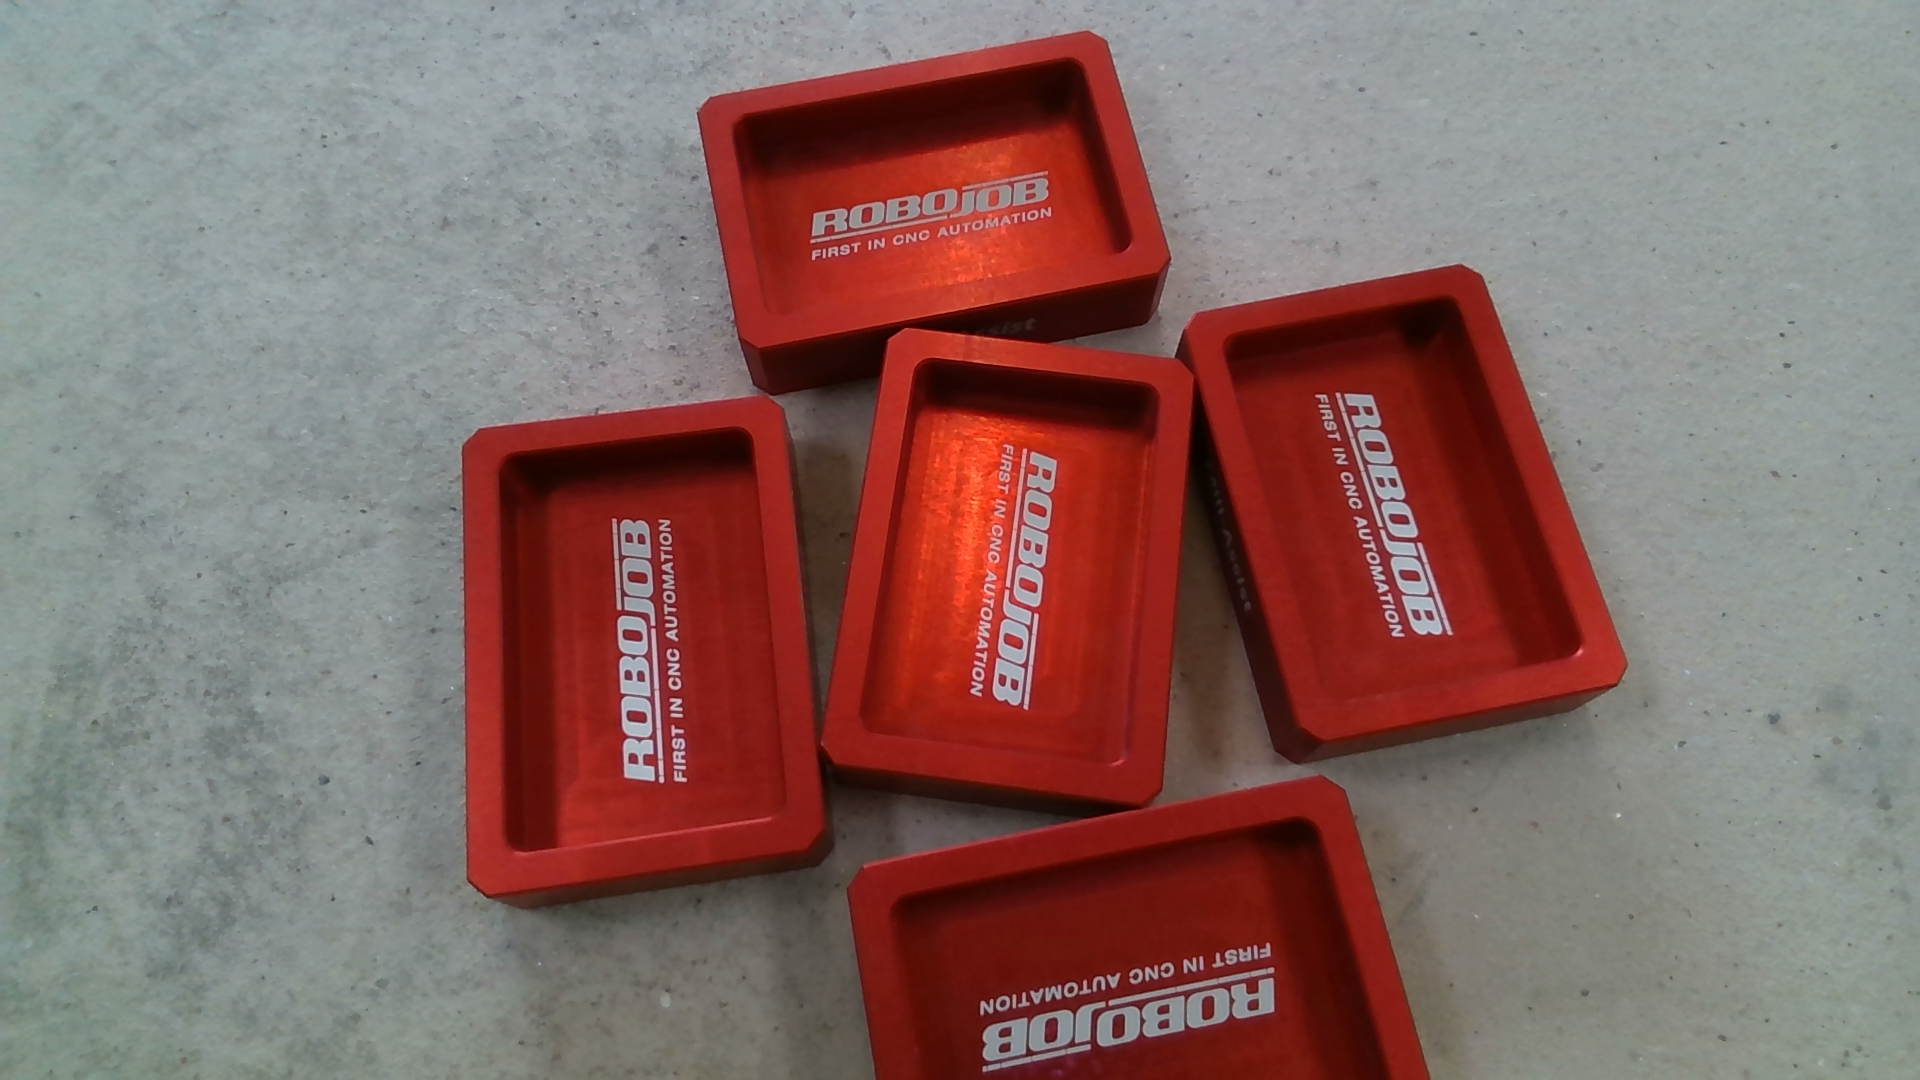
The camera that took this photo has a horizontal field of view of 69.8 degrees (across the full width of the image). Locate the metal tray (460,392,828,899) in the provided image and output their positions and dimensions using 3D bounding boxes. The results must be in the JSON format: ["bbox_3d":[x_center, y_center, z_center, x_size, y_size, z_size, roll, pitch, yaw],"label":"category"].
[{"bbox_3d":[-0.088,0.028,0.382,0.090,0.030,0.130,-7,70,-3],"label":"metal tray"}]

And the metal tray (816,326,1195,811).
[{"bbox_3d":[0.015,0.007,0.390,0.090,0.030,0.130,7,70,4],"label":"metal tray"}]

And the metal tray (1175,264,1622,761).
[{"bbox_3d":[0.120,-0.010,0.397,0.090,0.030,0.130,-11,70,-4],"label":"metal tray"}]

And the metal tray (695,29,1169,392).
[{"bbox_3d":[-0.010,-0.104,0.429,0.130,0.030,0.090,-11,70,-4],"label":"metal tray"}]

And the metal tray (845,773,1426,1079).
[{"bbox_3d":[0.043,0.117,0.351,0.130,0.030,0.090,-10,70,-3],"label":"metal tray"}]
